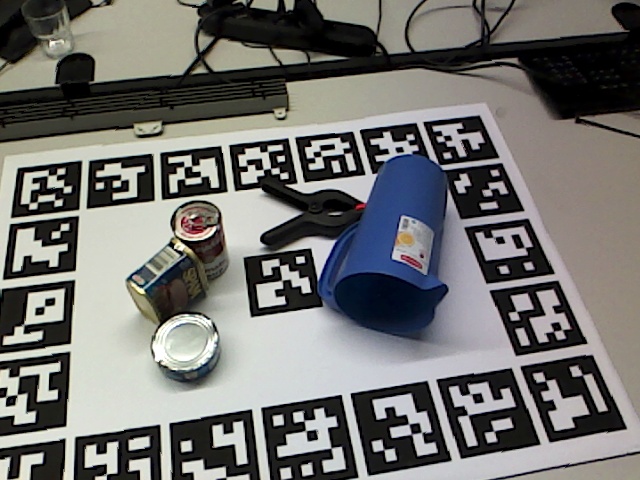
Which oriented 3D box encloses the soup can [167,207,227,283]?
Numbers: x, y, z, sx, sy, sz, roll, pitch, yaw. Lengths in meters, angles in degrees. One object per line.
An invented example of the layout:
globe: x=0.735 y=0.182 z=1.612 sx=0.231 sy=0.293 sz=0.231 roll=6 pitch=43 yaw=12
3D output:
soup can: x=-0.173 y=0.009 z=0.885 sx=0.068 sy=0.102 sz=0.068 roll=-1 pitch=57 yaw=1

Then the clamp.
clamp: x=-0.031 y=-0.037 z=0.969 sx=0.165 sy=0.036 sz=0.122 roll=-5 pitch=51 yaw=-8

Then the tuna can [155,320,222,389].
tuna can: x=-0.173 y=0.153 z=0.823 sx=0.086 sy=0.033 sz=0.086 roll=0 pitch=56 yaw=-1

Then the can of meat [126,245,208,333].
can of meat: x=-0.206 y=0.069 z=0.837 sx=0.058 sy=0.101 sz=0.083 roll=38 pitch=66 yaw=22

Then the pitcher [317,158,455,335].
pitcher: x=0.101 y=0.001 z=0.869 sx=0.190 sy=0.132 sz=0.243 roll=-5 pitch=44 yaw=23
